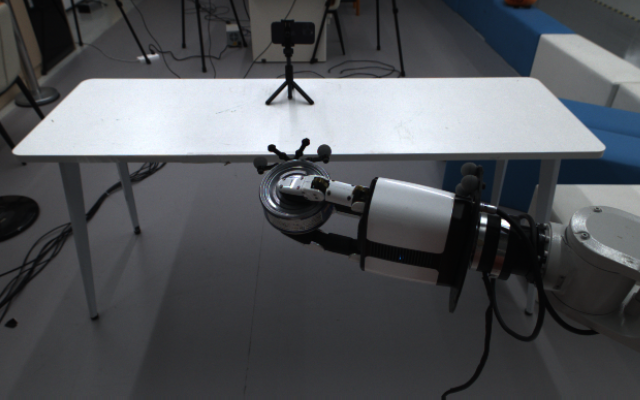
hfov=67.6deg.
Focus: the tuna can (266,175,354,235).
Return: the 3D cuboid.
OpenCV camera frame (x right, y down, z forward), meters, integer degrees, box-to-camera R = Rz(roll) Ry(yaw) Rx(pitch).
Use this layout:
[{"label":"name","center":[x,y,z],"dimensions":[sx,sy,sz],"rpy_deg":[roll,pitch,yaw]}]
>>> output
[{"label":"tuna can","center":[-0.022,0.001,0.562],"dimensions":[0.085,0.034,0.085],"rpy_deg":[-3,60,5]}]
